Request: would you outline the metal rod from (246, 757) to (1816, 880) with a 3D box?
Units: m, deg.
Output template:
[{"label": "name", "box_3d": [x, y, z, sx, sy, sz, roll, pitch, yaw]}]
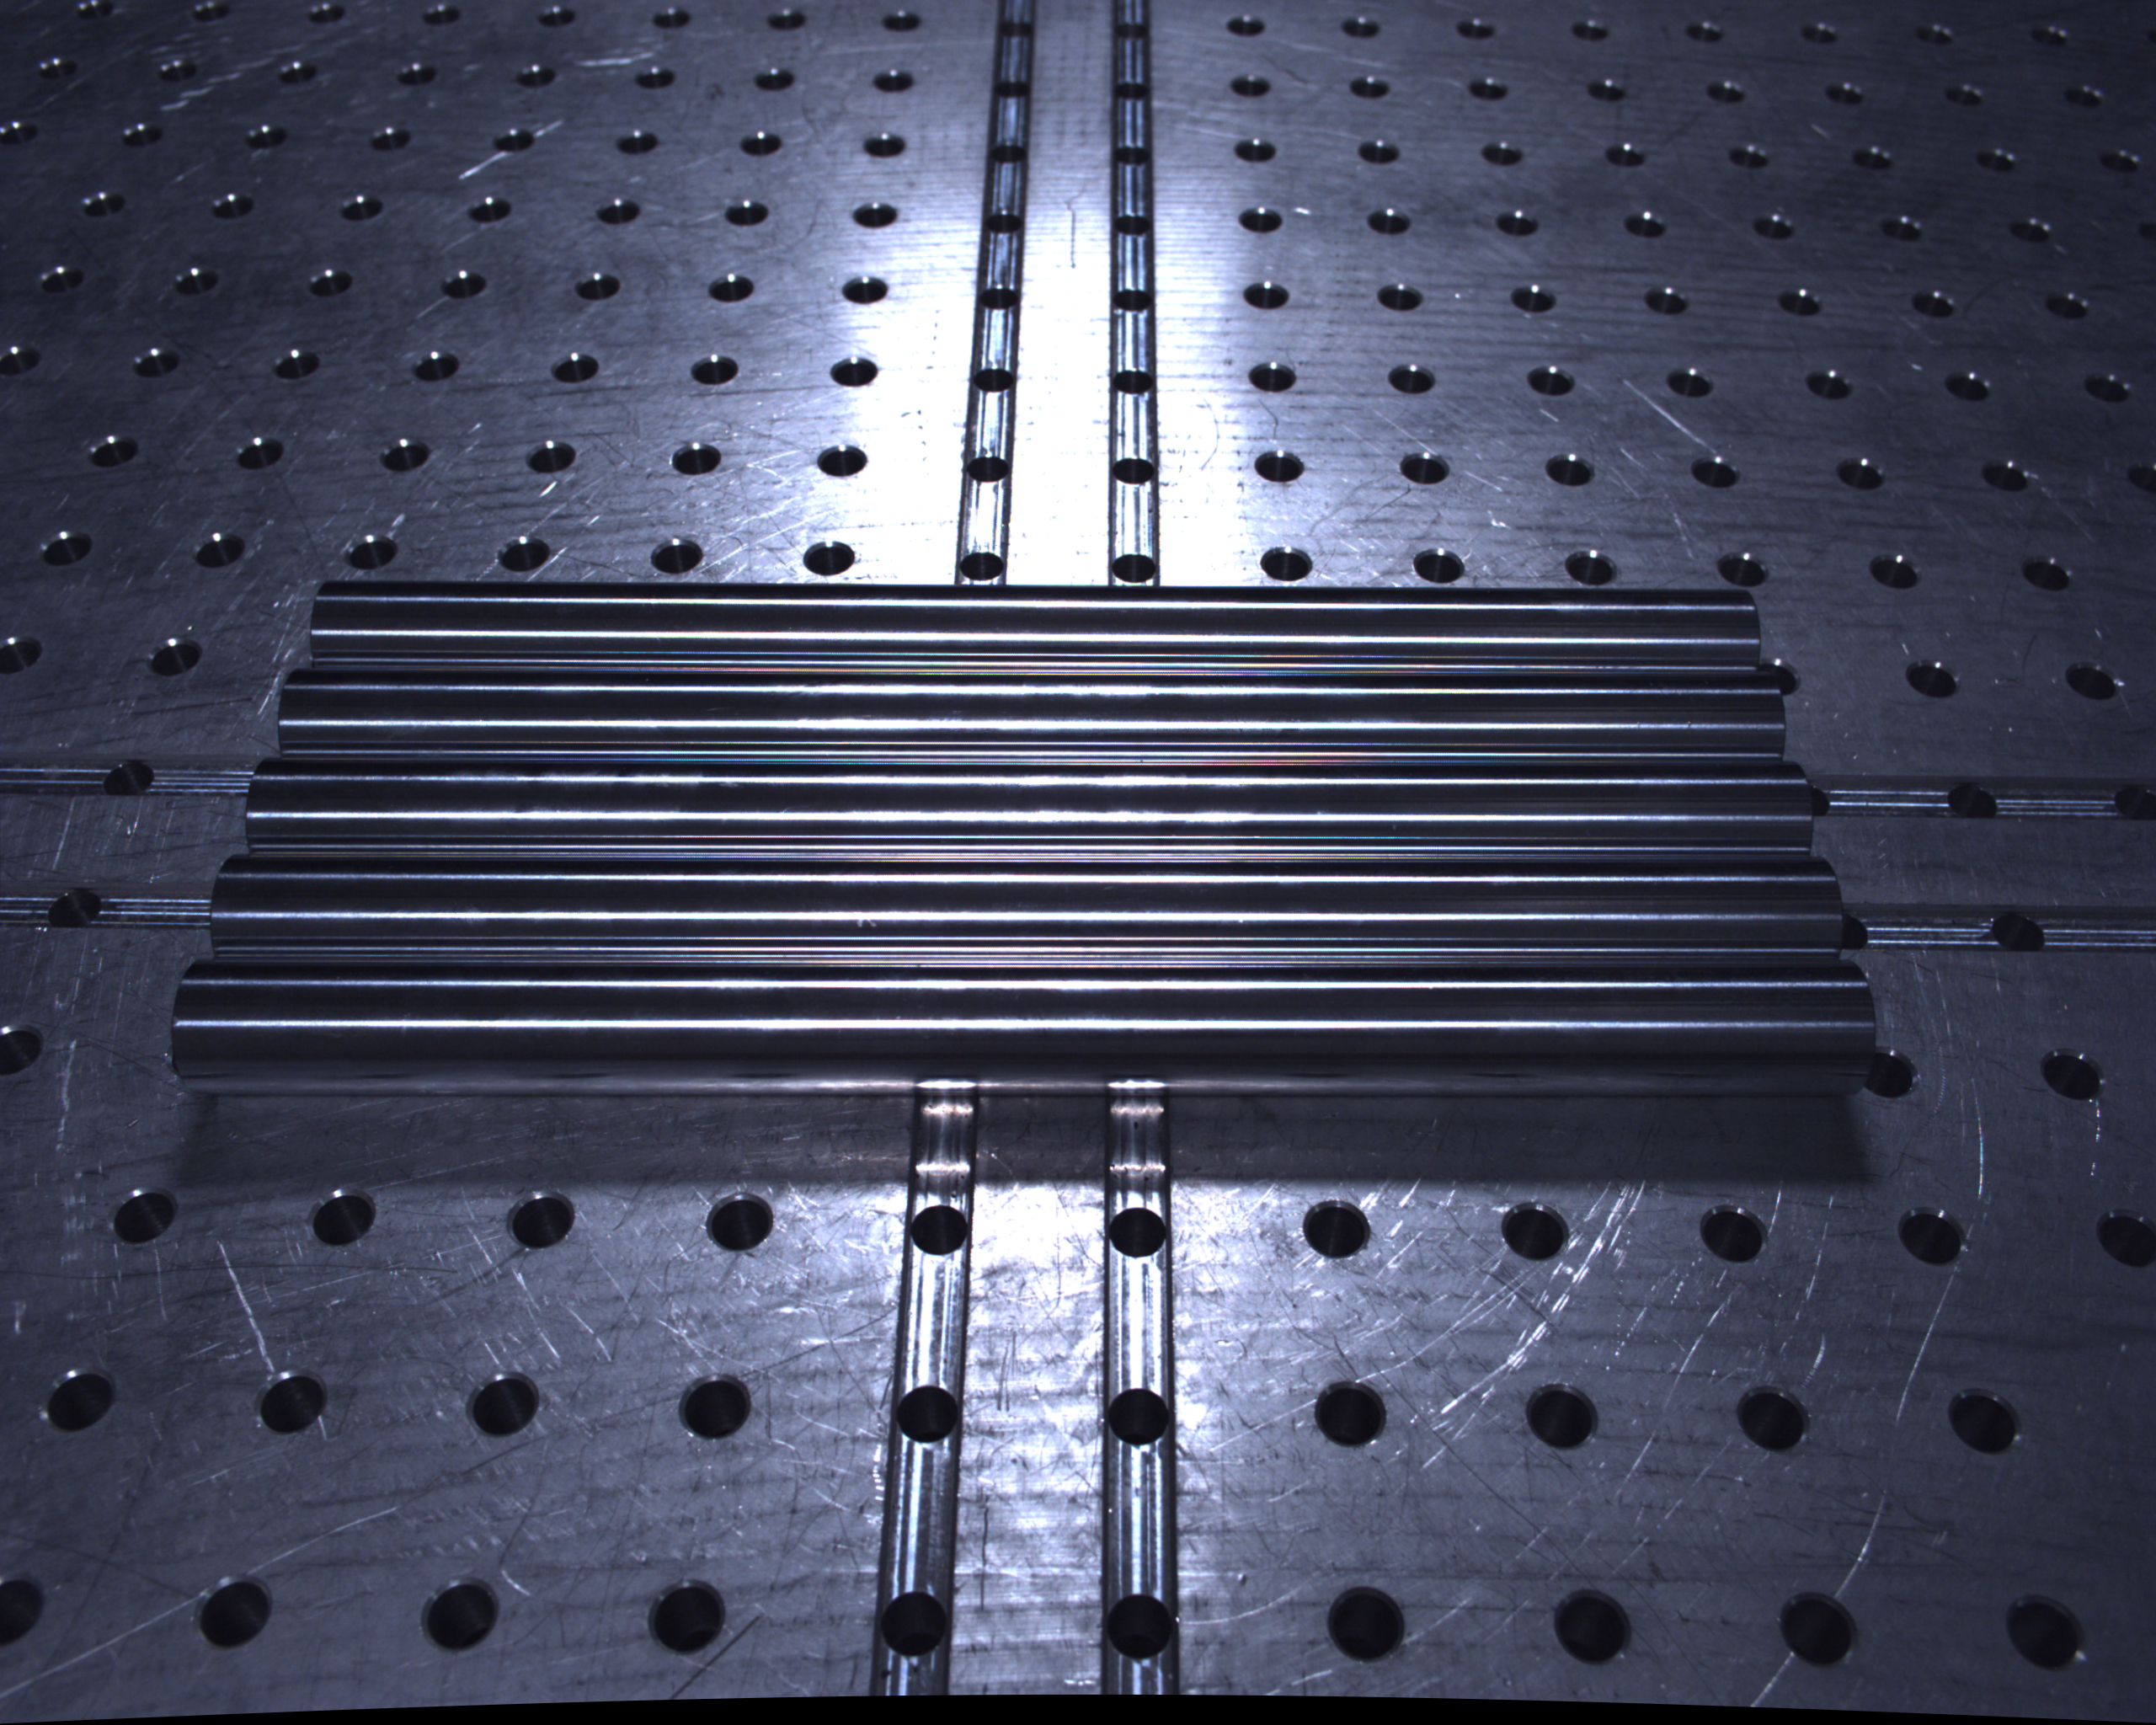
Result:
[{"label": "metal rod", "box_3d": [-0.009, -0.008, 0.414, 0.302, 0.025, 0.025, 0, 50, 0]}]

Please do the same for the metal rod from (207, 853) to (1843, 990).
[{"label": "metal rod", "box_3d": [-0.009, 0.012, 0.397, 0.302, 0.025, 0.025, 0, 50, 0]}]

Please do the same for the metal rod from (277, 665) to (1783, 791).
[{"label": "metal rod", "box_3d": [-0.009, -0.027, 0.430, 0.302, 0.025, 0.025, 0, 50, 0]}]

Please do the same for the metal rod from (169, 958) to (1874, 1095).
[{"label": "metal rod", "box_3d": [-0.009, 0.030, 0.382, 0.302, 0.025, 0.025, 0, 50, -1]}]

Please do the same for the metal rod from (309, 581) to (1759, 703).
[{"label": "metal rod", "box_3d": [-0.009, -0.047, 0.447, 0.302, 0.025, 0.025, 0, 50, 0]}]
